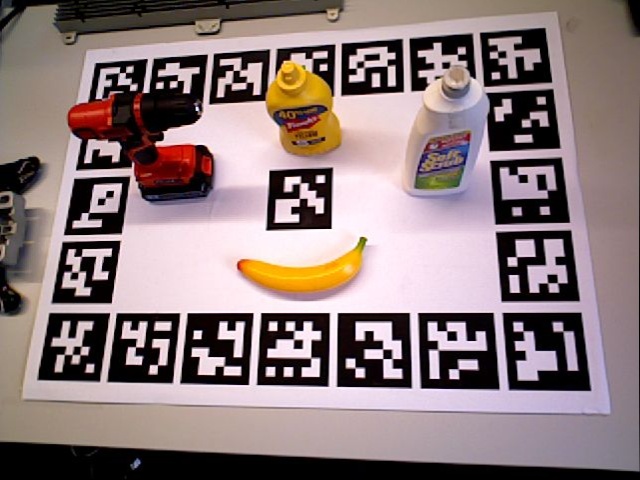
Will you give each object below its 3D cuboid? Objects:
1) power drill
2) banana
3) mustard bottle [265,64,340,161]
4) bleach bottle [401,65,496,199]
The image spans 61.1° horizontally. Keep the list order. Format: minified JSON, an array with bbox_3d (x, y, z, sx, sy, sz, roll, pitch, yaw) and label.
[{"bbox_3d":[-0.218,-0.143,0.751,0.185,0.188,0.057,-7,71,11],"label":"power drill"},{"bbox_3d":[-0.028,0.045,0.764,0.198,0.039,0.074,-6,74,11],"label":"banana"},{"bbox_3d":[-0.026,-0.180,0.762,0.096,0.193,0.058,-7,71,4],"label":"mustard bottle"},{"bbox_3d":[0.157,-0.131,0.682,0.103,0.253,0.067,8,73,10],"label":"bleach bottle"}]
